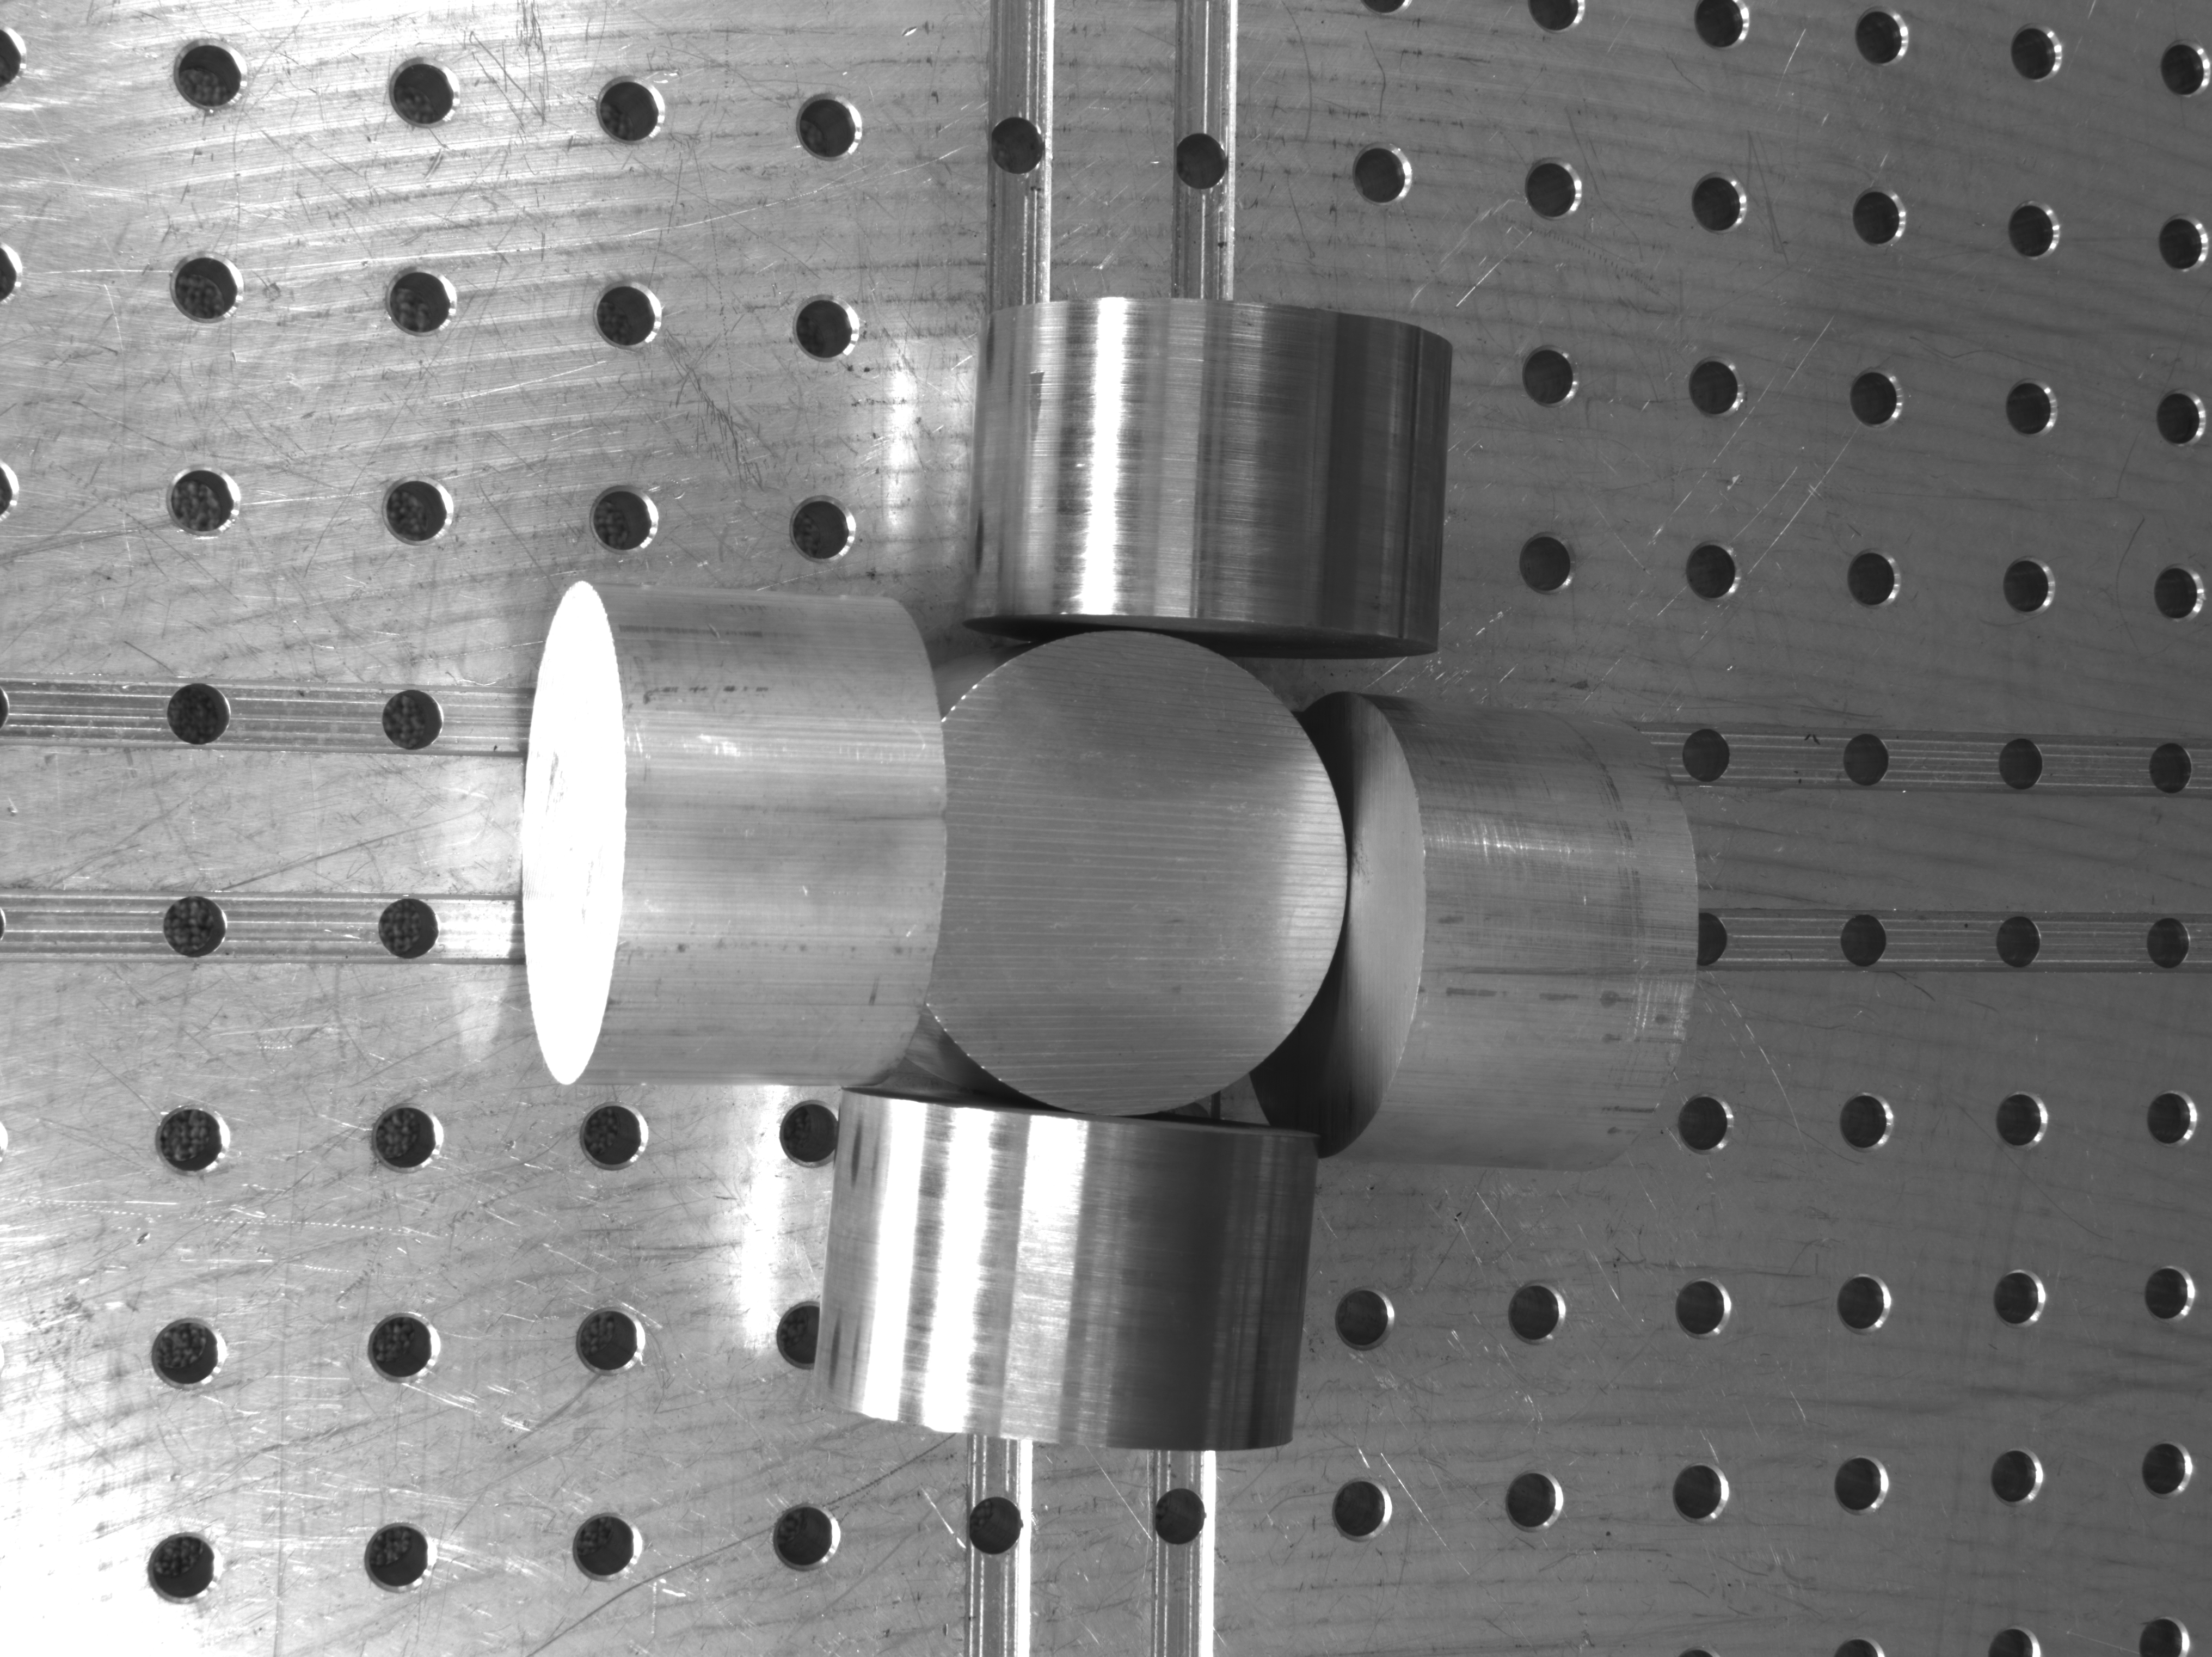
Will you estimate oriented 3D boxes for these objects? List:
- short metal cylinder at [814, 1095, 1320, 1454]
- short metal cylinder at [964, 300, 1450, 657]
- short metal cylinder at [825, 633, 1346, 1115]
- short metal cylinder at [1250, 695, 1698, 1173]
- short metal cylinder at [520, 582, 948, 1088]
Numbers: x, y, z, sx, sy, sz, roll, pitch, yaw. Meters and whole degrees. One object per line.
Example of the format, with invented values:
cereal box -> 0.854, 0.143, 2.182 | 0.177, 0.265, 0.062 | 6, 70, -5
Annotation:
short metal cylinder -> -0.007, 0.073, 0.613 | 0.080, 0.080, 0.050 | 7, 87, -20
short metal cylinder -> 0.017, -0.057, 0.623 | 0.080, 0.080, 0.050 | 3, 88, -20
short metal cylinder -> -0.006, 0.008, 0.631 | 0.080, 0.050, 0.080 | 0, 90, -21
short metal cylinder -> 0.061, 0.019, 0.639 | 0.050, 0.080, 0.080 | 4, 88, -20
short metal cylinder -> -0.062, 0.002, 0.594 | 0.050, 0.080, 0.080 | 2, 89, -20
